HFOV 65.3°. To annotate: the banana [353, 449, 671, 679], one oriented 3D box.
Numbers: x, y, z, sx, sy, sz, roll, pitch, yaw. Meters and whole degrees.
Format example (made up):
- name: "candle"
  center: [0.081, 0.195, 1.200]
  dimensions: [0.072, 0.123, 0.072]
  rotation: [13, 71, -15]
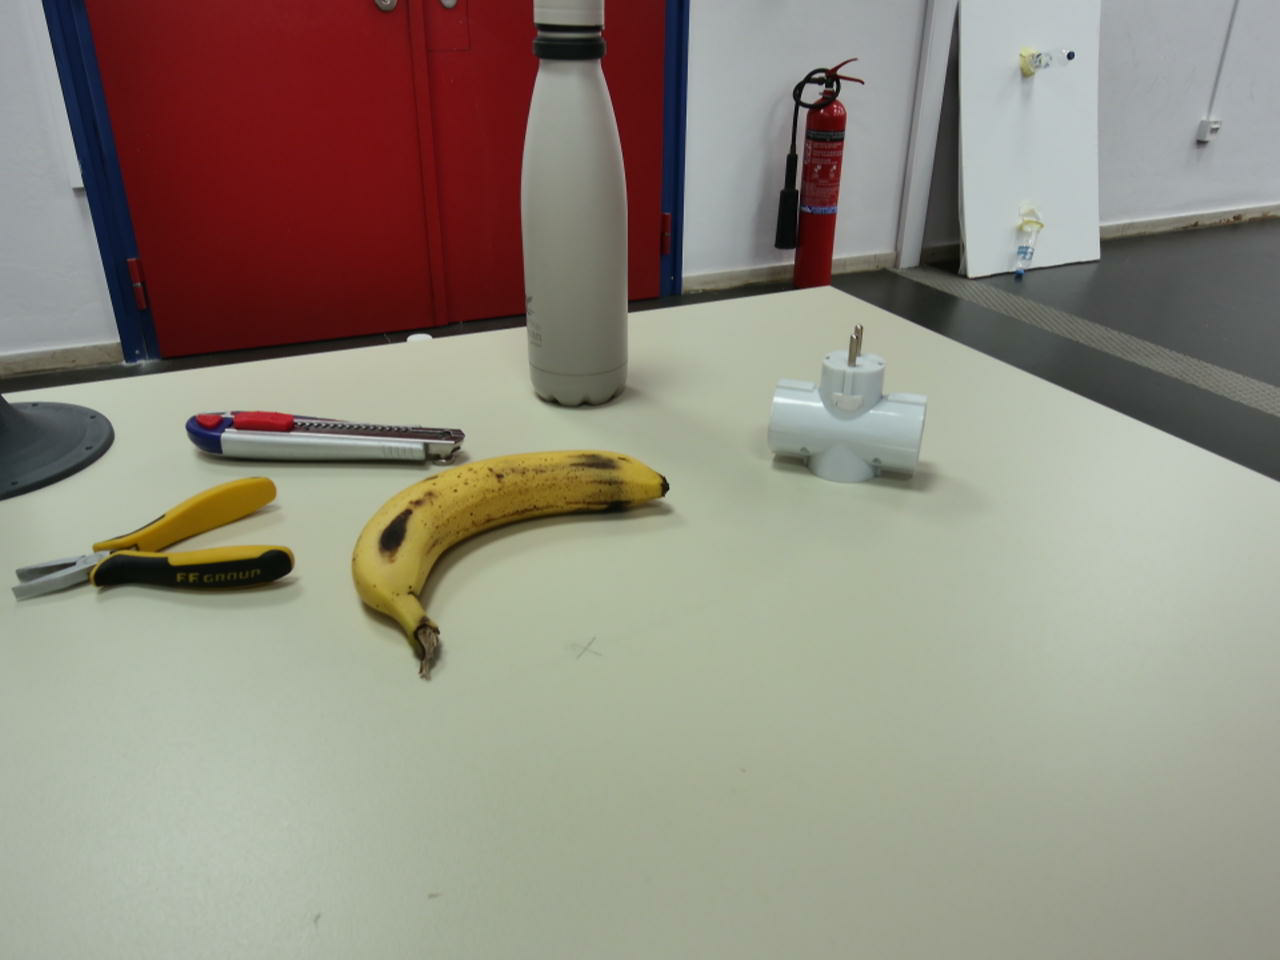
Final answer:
- name: "banana"
  center: [-0.074, 0.022, 0.521]
  dimensions: [0.097, 0.038, 0.186]
  rotation: [18, 30, 32]
